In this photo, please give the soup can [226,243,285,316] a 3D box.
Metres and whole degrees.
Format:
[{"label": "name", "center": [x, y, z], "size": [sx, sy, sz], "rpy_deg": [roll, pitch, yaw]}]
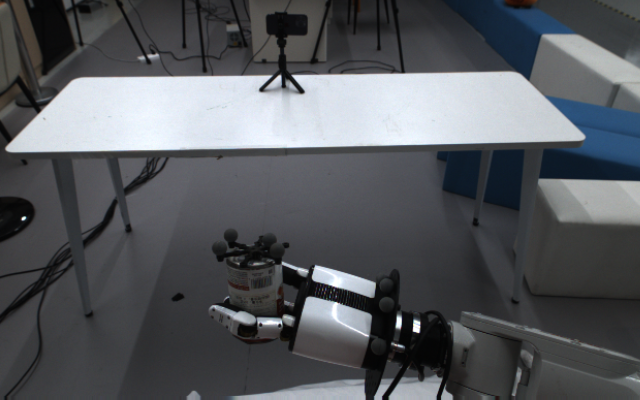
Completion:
[{"label": "soup can", "center": [-0.076, 0.115, 0.589], "size": [0.067, 0.101, 0.067], "rpy_deg": [-1, 16, 0]}]
